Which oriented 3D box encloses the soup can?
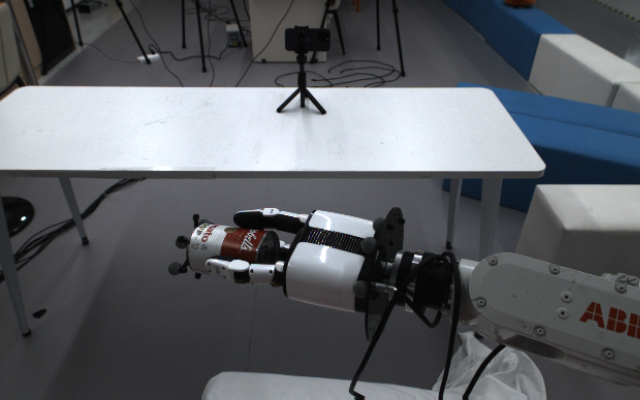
[{"bbox_3d":[-0.109,0.069,0.625,0.101,0.067,0.067,5,34,18],"label":"soup can"}]
